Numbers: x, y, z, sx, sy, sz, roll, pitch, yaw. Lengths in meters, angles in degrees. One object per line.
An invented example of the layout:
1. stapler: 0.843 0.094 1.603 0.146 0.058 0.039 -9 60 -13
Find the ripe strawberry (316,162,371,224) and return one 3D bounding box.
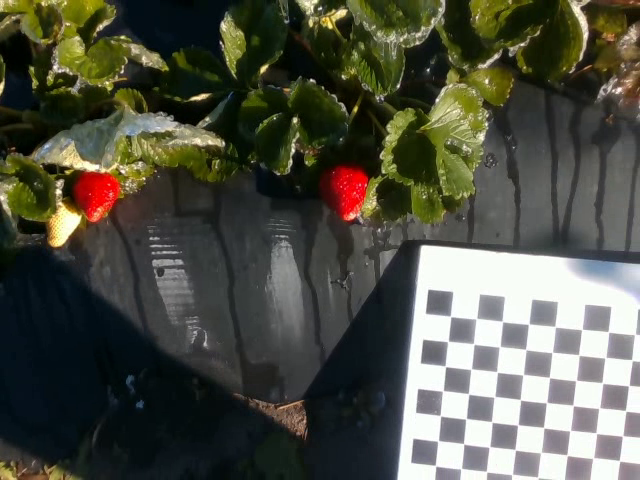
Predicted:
1. ripe strawberry: 0.020 -0.034 0.458 0.041 0.052 0.047 -1 -37 4

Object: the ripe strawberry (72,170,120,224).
1. ripe strawberry: -0.176 -0.032 0.474 0.038 0.040 0.051 -9 42 5
